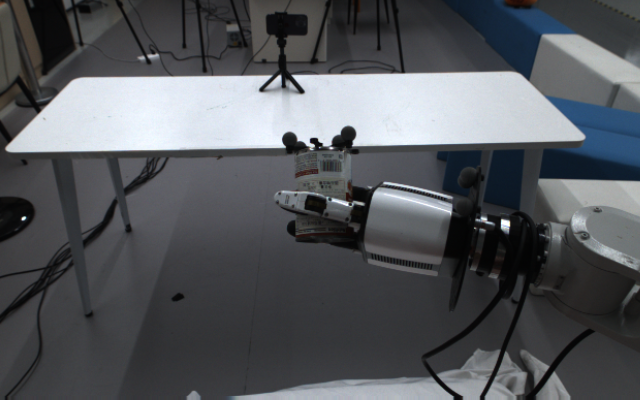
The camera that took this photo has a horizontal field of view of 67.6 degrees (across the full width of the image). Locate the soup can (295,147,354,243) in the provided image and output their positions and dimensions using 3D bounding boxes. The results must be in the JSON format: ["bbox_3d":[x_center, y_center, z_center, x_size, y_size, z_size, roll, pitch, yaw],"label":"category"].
[{"bbox_3d":[0.006,-0.003,0.553,0.067,0.101,0.067,-1,-9,0],"label":"soup can"}]
